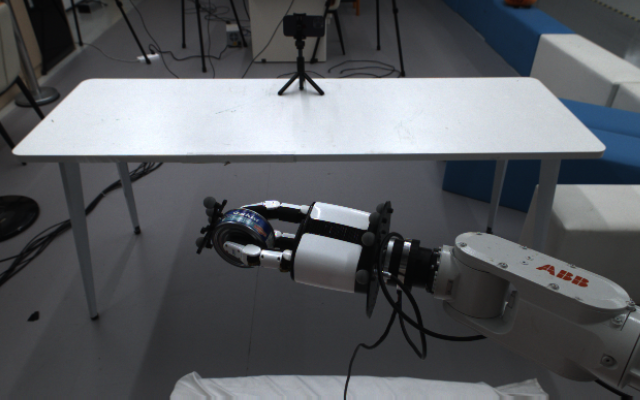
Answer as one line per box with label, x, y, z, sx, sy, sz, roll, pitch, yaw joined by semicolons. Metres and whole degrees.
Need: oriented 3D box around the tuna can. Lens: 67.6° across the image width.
tuna can;-0.107;0.057;0.684;0.085;0.085;0.034;9;36;9
